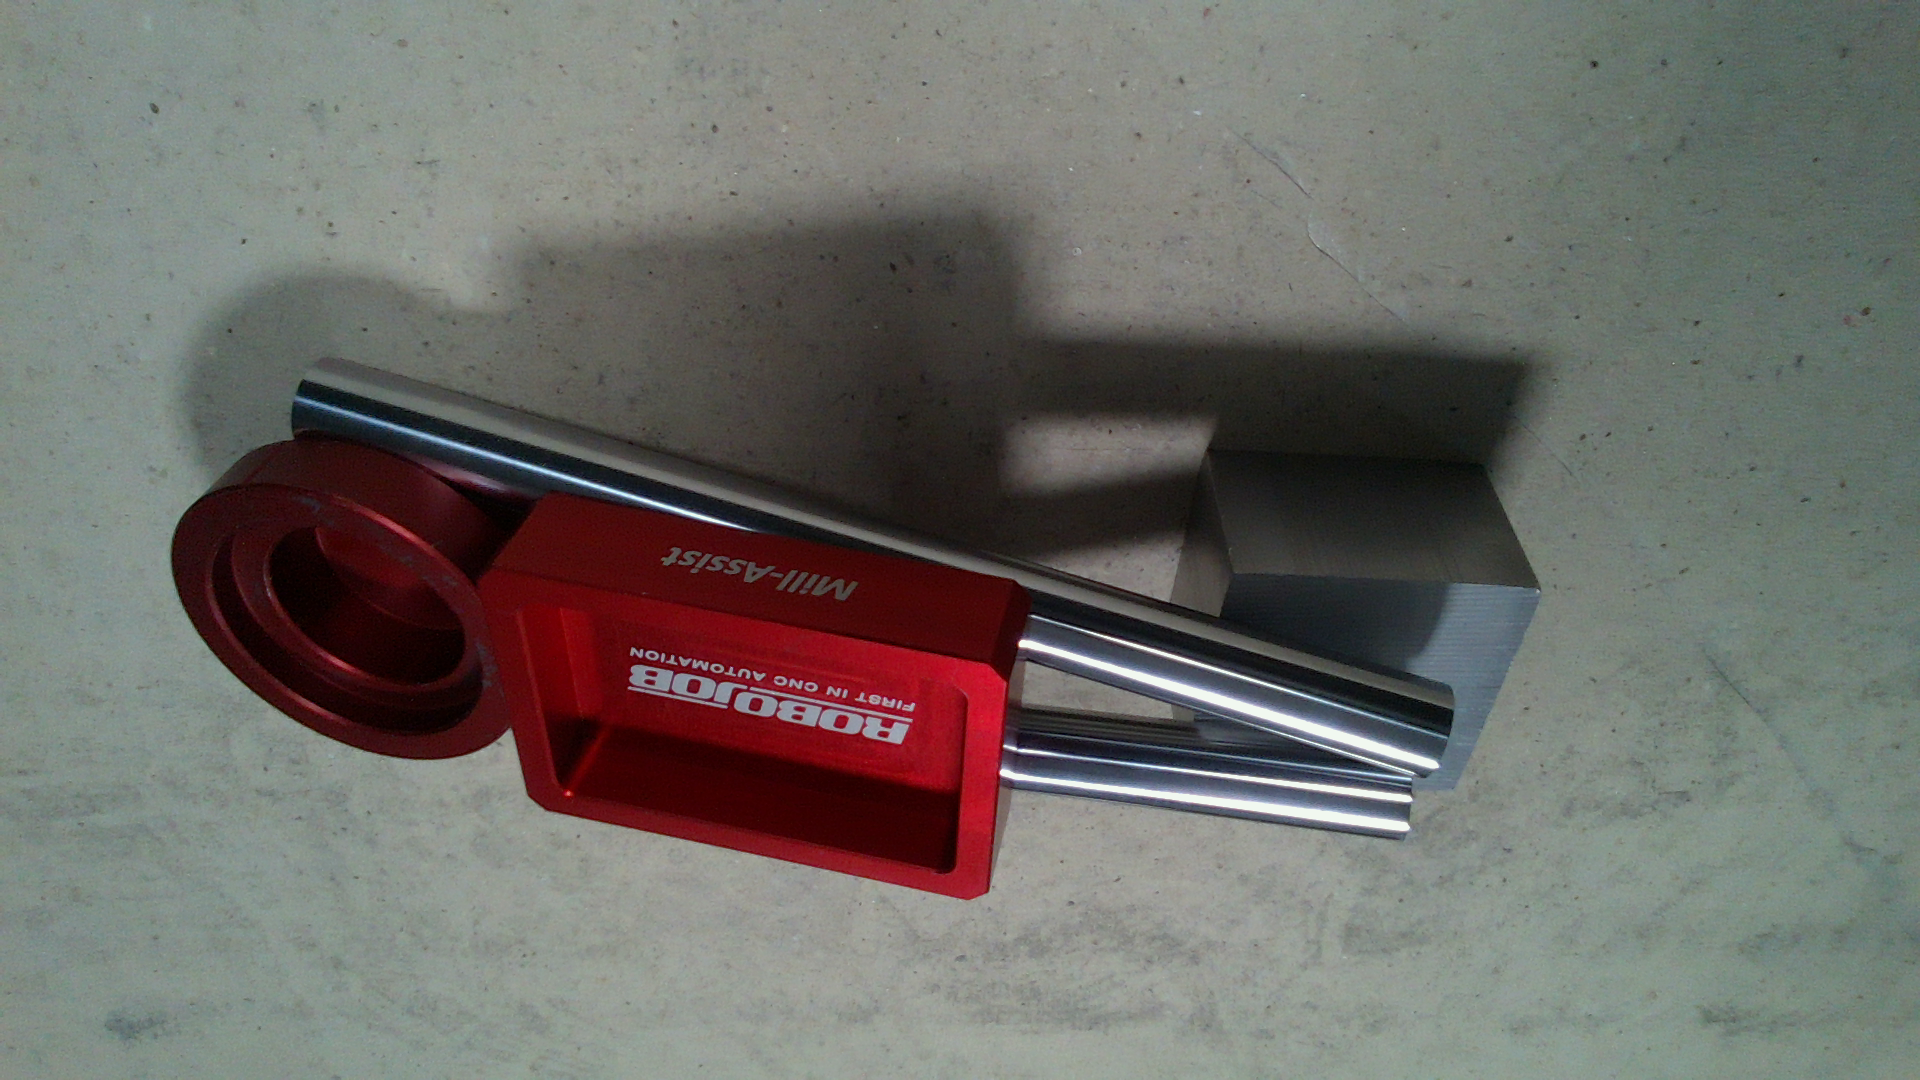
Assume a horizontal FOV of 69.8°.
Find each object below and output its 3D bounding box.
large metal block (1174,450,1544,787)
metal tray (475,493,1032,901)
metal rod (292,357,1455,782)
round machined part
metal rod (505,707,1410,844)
[{"bbox_3d":[0.106,0.023,0.393,0.080,0.050,0.080,3,130,-2],"label":"large metal block"},{"bbox_3d":[-0.051,0.042,0.355,0.130,0.030,0.090,10,131,8],"label":"metal tray"},{"bbox_3d":[-0.024,0.007,0.354,0.300,0.025,0.025,16,129,3],"label":"metal rod"},{"bbox_3d":[-0.159,0.011,0.381,0.098,0.042,0.098,7,130,8],"label":"round machined part"},{"bbox_3d":[-0.028,0.055,0.395,0.299,0.025,0.025,5,131,12],"label":"metal rod"}]
